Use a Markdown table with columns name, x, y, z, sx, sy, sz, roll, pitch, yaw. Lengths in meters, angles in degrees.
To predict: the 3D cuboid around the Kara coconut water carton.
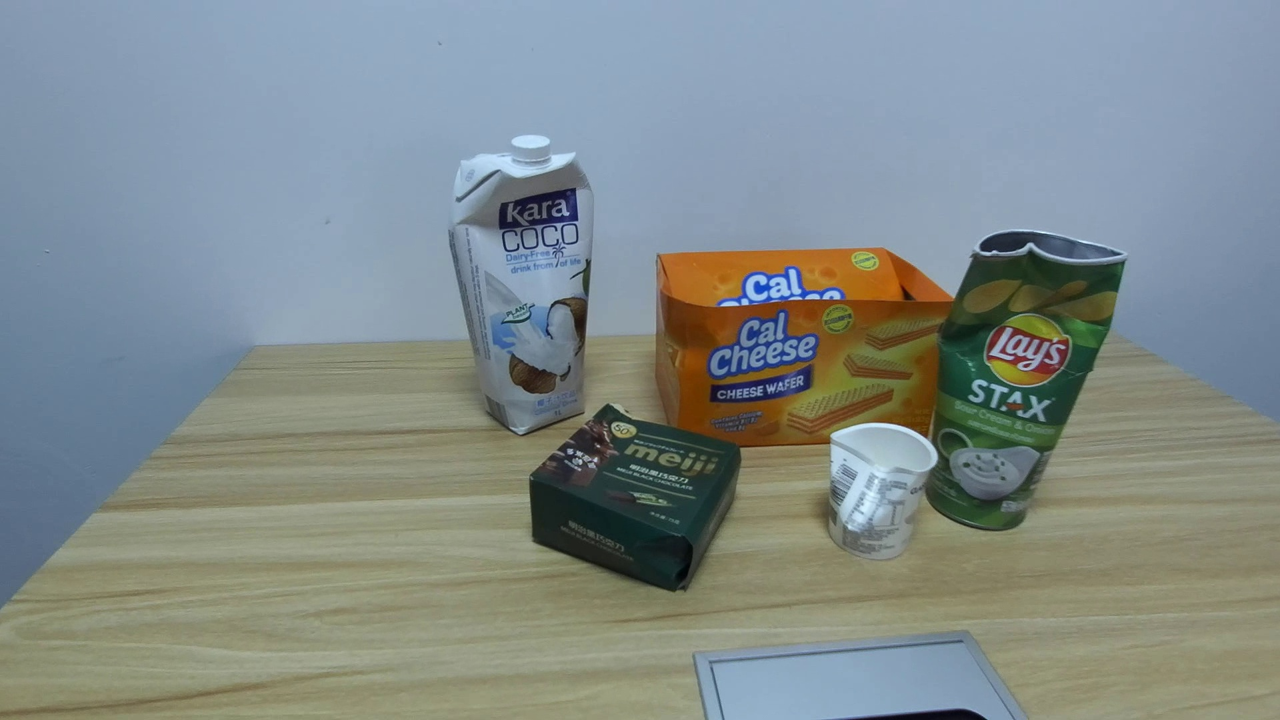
| name | x | y | z | sx | sy | sz | roll | pitch | yaw |
| --- | --- | --- | --- | --- | --- | --- | --- | --- | --- |
| Kara coconut water carton | -0.093 | -0.060 | 0.582 | 0.115 | 0.238 | 0.069 | -18 | 32 | -34 |

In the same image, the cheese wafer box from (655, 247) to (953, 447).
| name | x | y | z | sx | sy | sz | roll | pitch | yaw |
| --- | --- | --- | --- | --- | --- | --- | --- | --- | --- |
| cheese wafer box | 0.128 | -0.013 | 0.620 | 0.231 | 0.132 | 0.152 | -1 | 27 | -6 |

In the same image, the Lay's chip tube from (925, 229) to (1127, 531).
| name | x | y | z | sx | sy | sz | roll | pitch | yaw |
| --- | --- | --- | --- | --- | --- | --- | --- | --- | --- |
| Lay's chip tube | 0.249 | 0.016 | 0.480 | 0.077 | 0.201 | 0.069 | -3 | 25 | -2 |

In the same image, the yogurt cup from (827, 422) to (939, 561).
| name | x | y | z | sx | sy | sz | roll | pitch | yaw |
| --- | --- | --- | --- | --- | --- | --- | --- | --- | --- |
| yogurt cup | 0.159 | 0.087 | 0.473 | 0.067 | 0.070 | 0.067 | 0 | 24 | 0 |

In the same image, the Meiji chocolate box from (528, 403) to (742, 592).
| name | x | y | z | sx | sy | sz | roll | pitch | yaw |
| --- | --- | --- | --- | --- | --- | --- | --- | --- | --- |
| Meiji chocolate box | 0.001 | 0.091 | 0.484 | 0.115 | 0.058 | 0.123 | 15 | 30 | 21 |
